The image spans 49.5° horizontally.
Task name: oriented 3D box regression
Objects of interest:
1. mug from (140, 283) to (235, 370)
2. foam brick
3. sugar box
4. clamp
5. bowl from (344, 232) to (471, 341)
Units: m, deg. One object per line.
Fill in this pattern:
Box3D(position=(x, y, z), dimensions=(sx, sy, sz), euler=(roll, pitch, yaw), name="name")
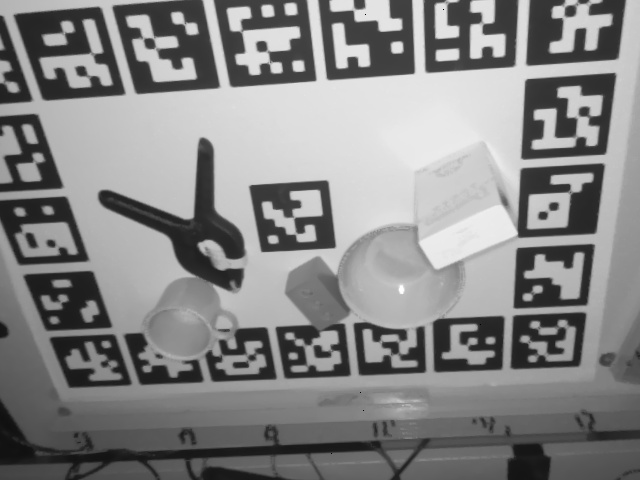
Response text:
Box3D(position=(-0.169, 0.115, 0.924), dimensions=(0.117, 0.082, 0.092), euler=(22, 118, -4), name="mug")
Box3D(position=(-0.001, 0.074, 0.919), dimensions=(0.052, 0.052, 0.078), euler=(-28, 112, 17), name="foam brick")
Box3D(position=(0.168, -0.041, 0.769), dimensions=(0.092, 0.178, 0.045), euler=(-25, 112, 18), name="sugar box")
Box3D(position=(-0.147, -0.007, 0.879), dimensions=(0.164, 0.037, 0.202), euler=(-25, 113, 13), name="clamp")
Box3D(position=(0.112, 0.049, 0.889), dimensions=(0.161, 0.056, 0.160), euler=(2, 118, 4), name="bowl")
